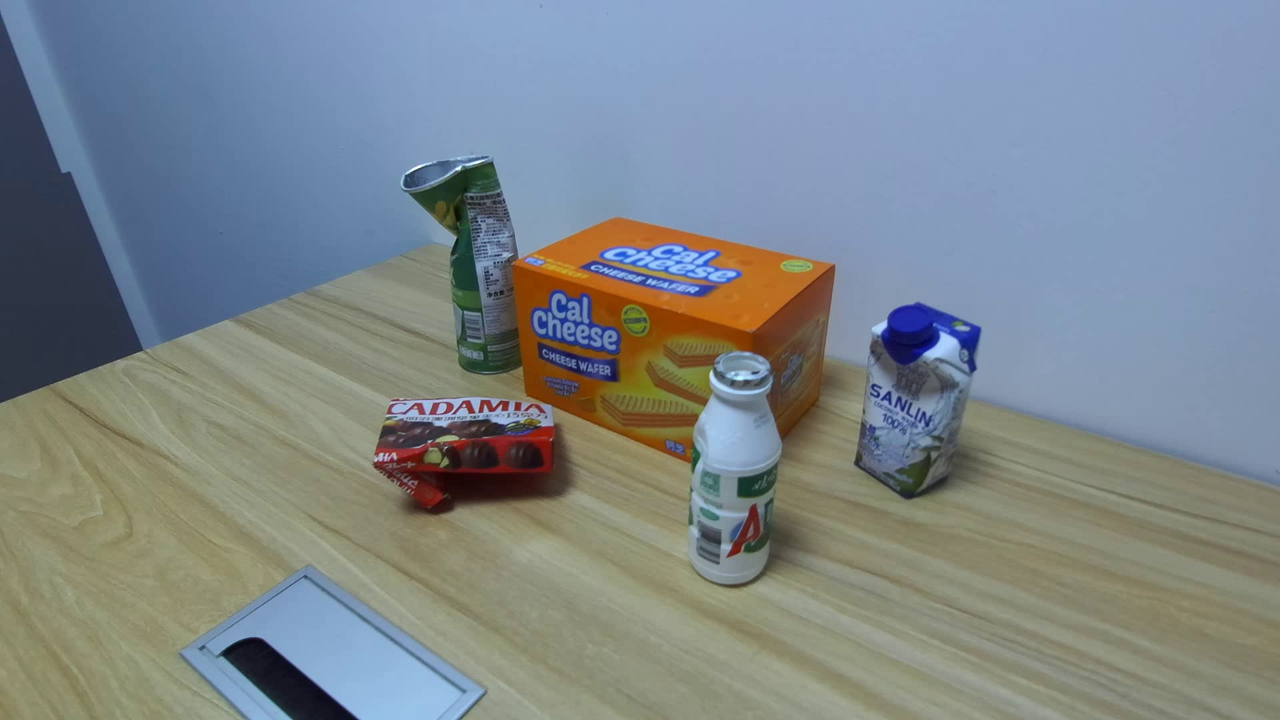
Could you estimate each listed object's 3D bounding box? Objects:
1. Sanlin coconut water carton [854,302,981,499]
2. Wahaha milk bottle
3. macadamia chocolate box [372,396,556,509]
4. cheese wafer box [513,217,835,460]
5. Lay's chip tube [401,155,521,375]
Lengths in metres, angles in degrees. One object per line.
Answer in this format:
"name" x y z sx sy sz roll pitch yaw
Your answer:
"Sanlin coconut water carton" 0.192 0.024 0.497 0.058 0.142 0.077 -24 36 -26
"Wahaha milk bottle" 0.055 0.070 0.419 0.053 0.137 0.053 0 31 0
"macadamia chocolate box" -0.128 0.057 0.534 0.126 0.056 0.112 -6 31 -9
"cheese wafer box" 0.027 -0.022 0.592 0.221 0.129 0.148 19 36 30
"Lay's chip tube" -0.151 -0.082 0.637 0.071 0.200 0.078 -29 38 -28
